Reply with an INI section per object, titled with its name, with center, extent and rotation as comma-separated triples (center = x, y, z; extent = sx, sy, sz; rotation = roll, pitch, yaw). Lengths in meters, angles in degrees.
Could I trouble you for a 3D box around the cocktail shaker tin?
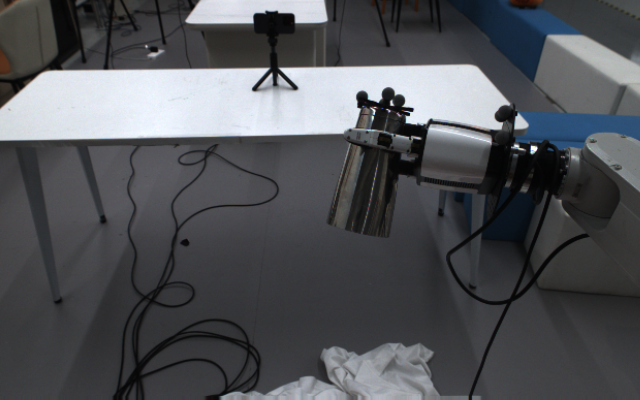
[cocktail shaker tin]
center = 0.073, -0.044, 0.688
extent = 0.093, 0.170, 0.093
rotation = 13, 3, -1
